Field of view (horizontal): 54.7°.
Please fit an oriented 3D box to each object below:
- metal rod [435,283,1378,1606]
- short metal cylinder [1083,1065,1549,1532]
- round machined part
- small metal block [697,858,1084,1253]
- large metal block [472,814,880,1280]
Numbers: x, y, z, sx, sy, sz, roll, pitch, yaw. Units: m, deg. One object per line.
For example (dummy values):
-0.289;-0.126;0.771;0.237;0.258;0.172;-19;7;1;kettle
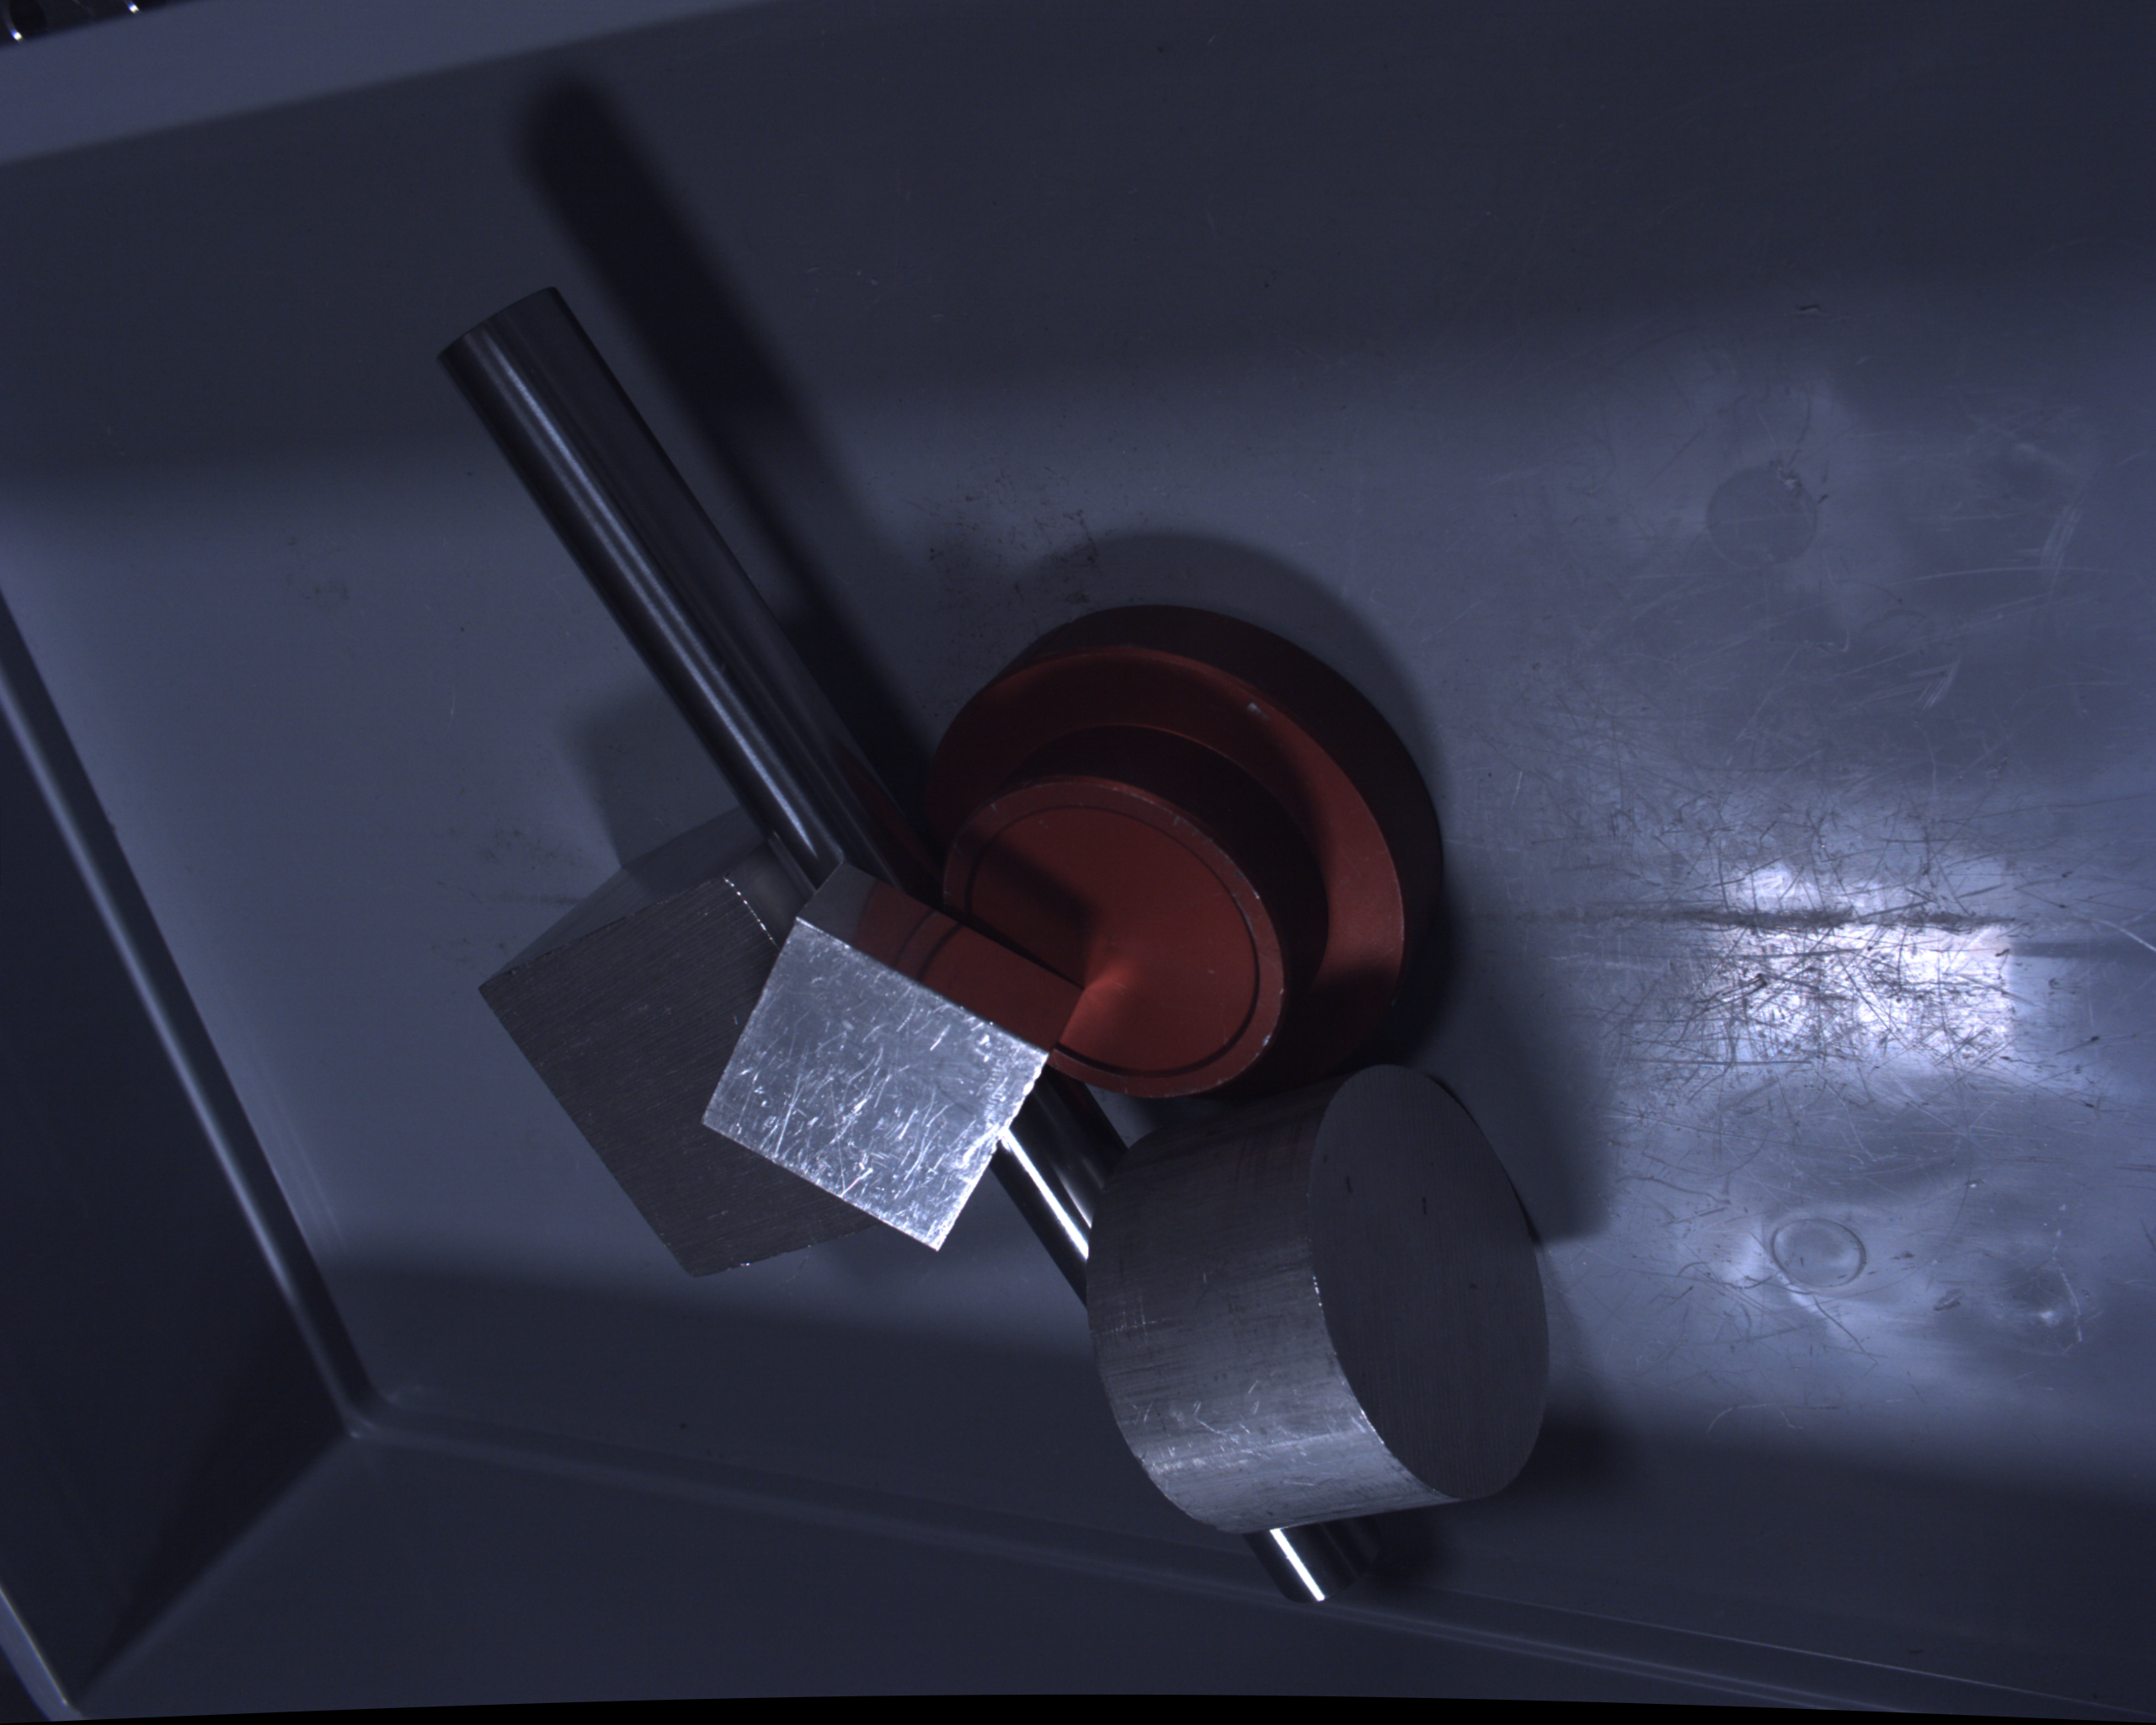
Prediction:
-0.026;0.026;0.408;0.025;0.025;0.299;-23;107;36;metal rod
0.046;0.083;0.397;0.050;0.080;0.080;-22;107;36;short metal cylinder
0.014;0.005;0.389;0.098;0.042;0.097;13;124;20;round machined part
-0.035;0.035;0.383;0.050;0.025;0.050;29;117;1;small metal block
-0.065;0.034;0.441;0.080;0.050;0.080;-22;107;36;large metal block
